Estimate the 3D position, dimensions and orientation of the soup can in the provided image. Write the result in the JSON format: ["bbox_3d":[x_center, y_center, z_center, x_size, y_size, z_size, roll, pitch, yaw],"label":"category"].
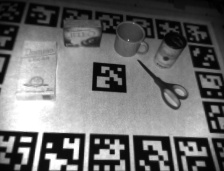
[{"bbox_3d":[0.181,-0.118,0.689,0.068,0.102,0.067,4,61,-7],"label":"soup can"}]

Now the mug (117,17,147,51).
[{"bbox_3d":[0.066,-0.158,0.690,0.094,0.081,0.116,-32,72,-20],"label":"mug"}]

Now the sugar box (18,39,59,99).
[{"bbox_3d":[-0.202,-0.049,0.609,0.093,0.045,0.175,0,65,-8],"label":"sugar box"}]

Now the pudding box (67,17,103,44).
[{"bbox_3d":[-0.080,-0.169,0.659,0.114,0.090,0.038,-6,71,-13],"label":"pudding box"}]

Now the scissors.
[{"bbox_3d":[0.155,-0.018,0.672,0.088,0.016,0.201,-40,77,-16],"label":"scissors"}]
